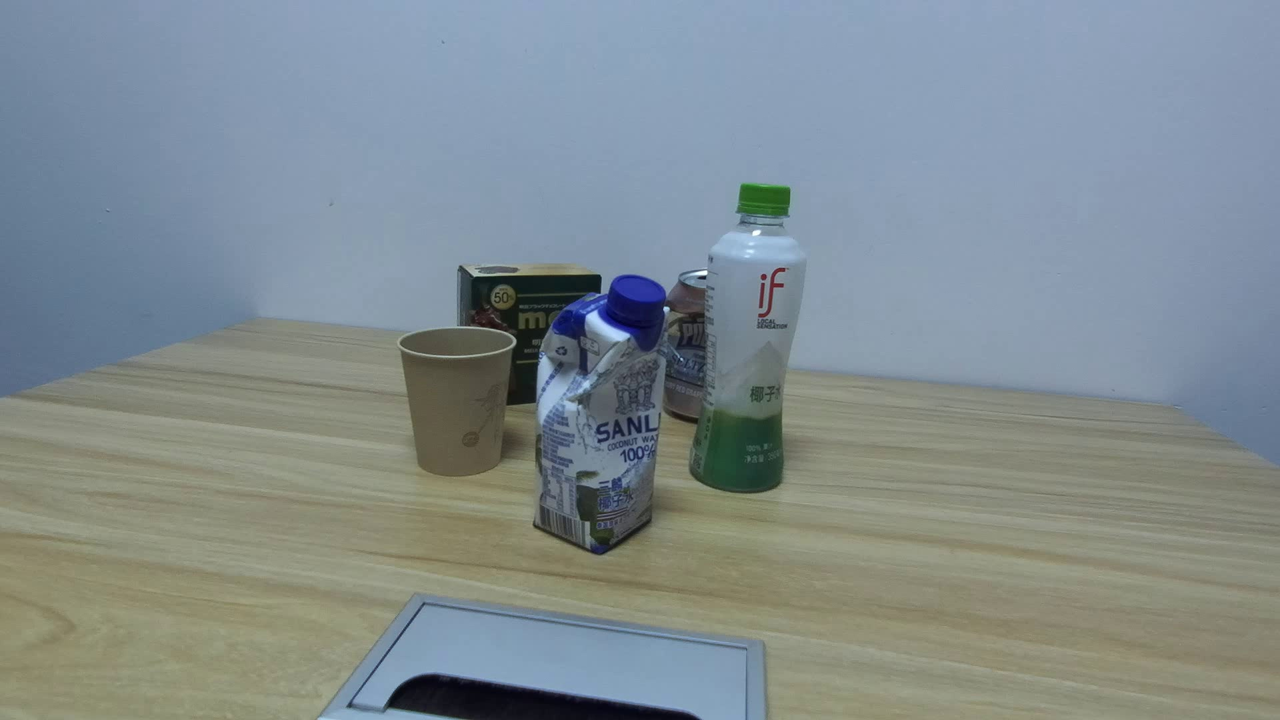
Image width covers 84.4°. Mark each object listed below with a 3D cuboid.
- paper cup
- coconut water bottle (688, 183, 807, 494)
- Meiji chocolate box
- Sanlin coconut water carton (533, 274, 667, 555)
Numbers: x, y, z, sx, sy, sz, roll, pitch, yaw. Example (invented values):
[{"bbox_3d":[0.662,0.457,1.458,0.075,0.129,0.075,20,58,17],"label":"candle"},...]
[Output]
[{"bbox_3d":[-0.119,0.028,0.465,0.075,0.082,0.075,3,15,0],"label":"paper cup"},{"bbox_3d":[0.071,-0.013,0.449,0.063,0.188,0.063,4,14,-1],"label":"coconut water bottle"},{"bbox_3d":[-0.087,-0.015,0.582,0.110,0.109,0.056,-2,2,-19],"label":"Meiji chocolate box"},{"bbox_3d":[-0.022,0.025,0.379,0.069,0.143,0.061,16,21,33],"label":"Sanlin coconut water carton"}]
